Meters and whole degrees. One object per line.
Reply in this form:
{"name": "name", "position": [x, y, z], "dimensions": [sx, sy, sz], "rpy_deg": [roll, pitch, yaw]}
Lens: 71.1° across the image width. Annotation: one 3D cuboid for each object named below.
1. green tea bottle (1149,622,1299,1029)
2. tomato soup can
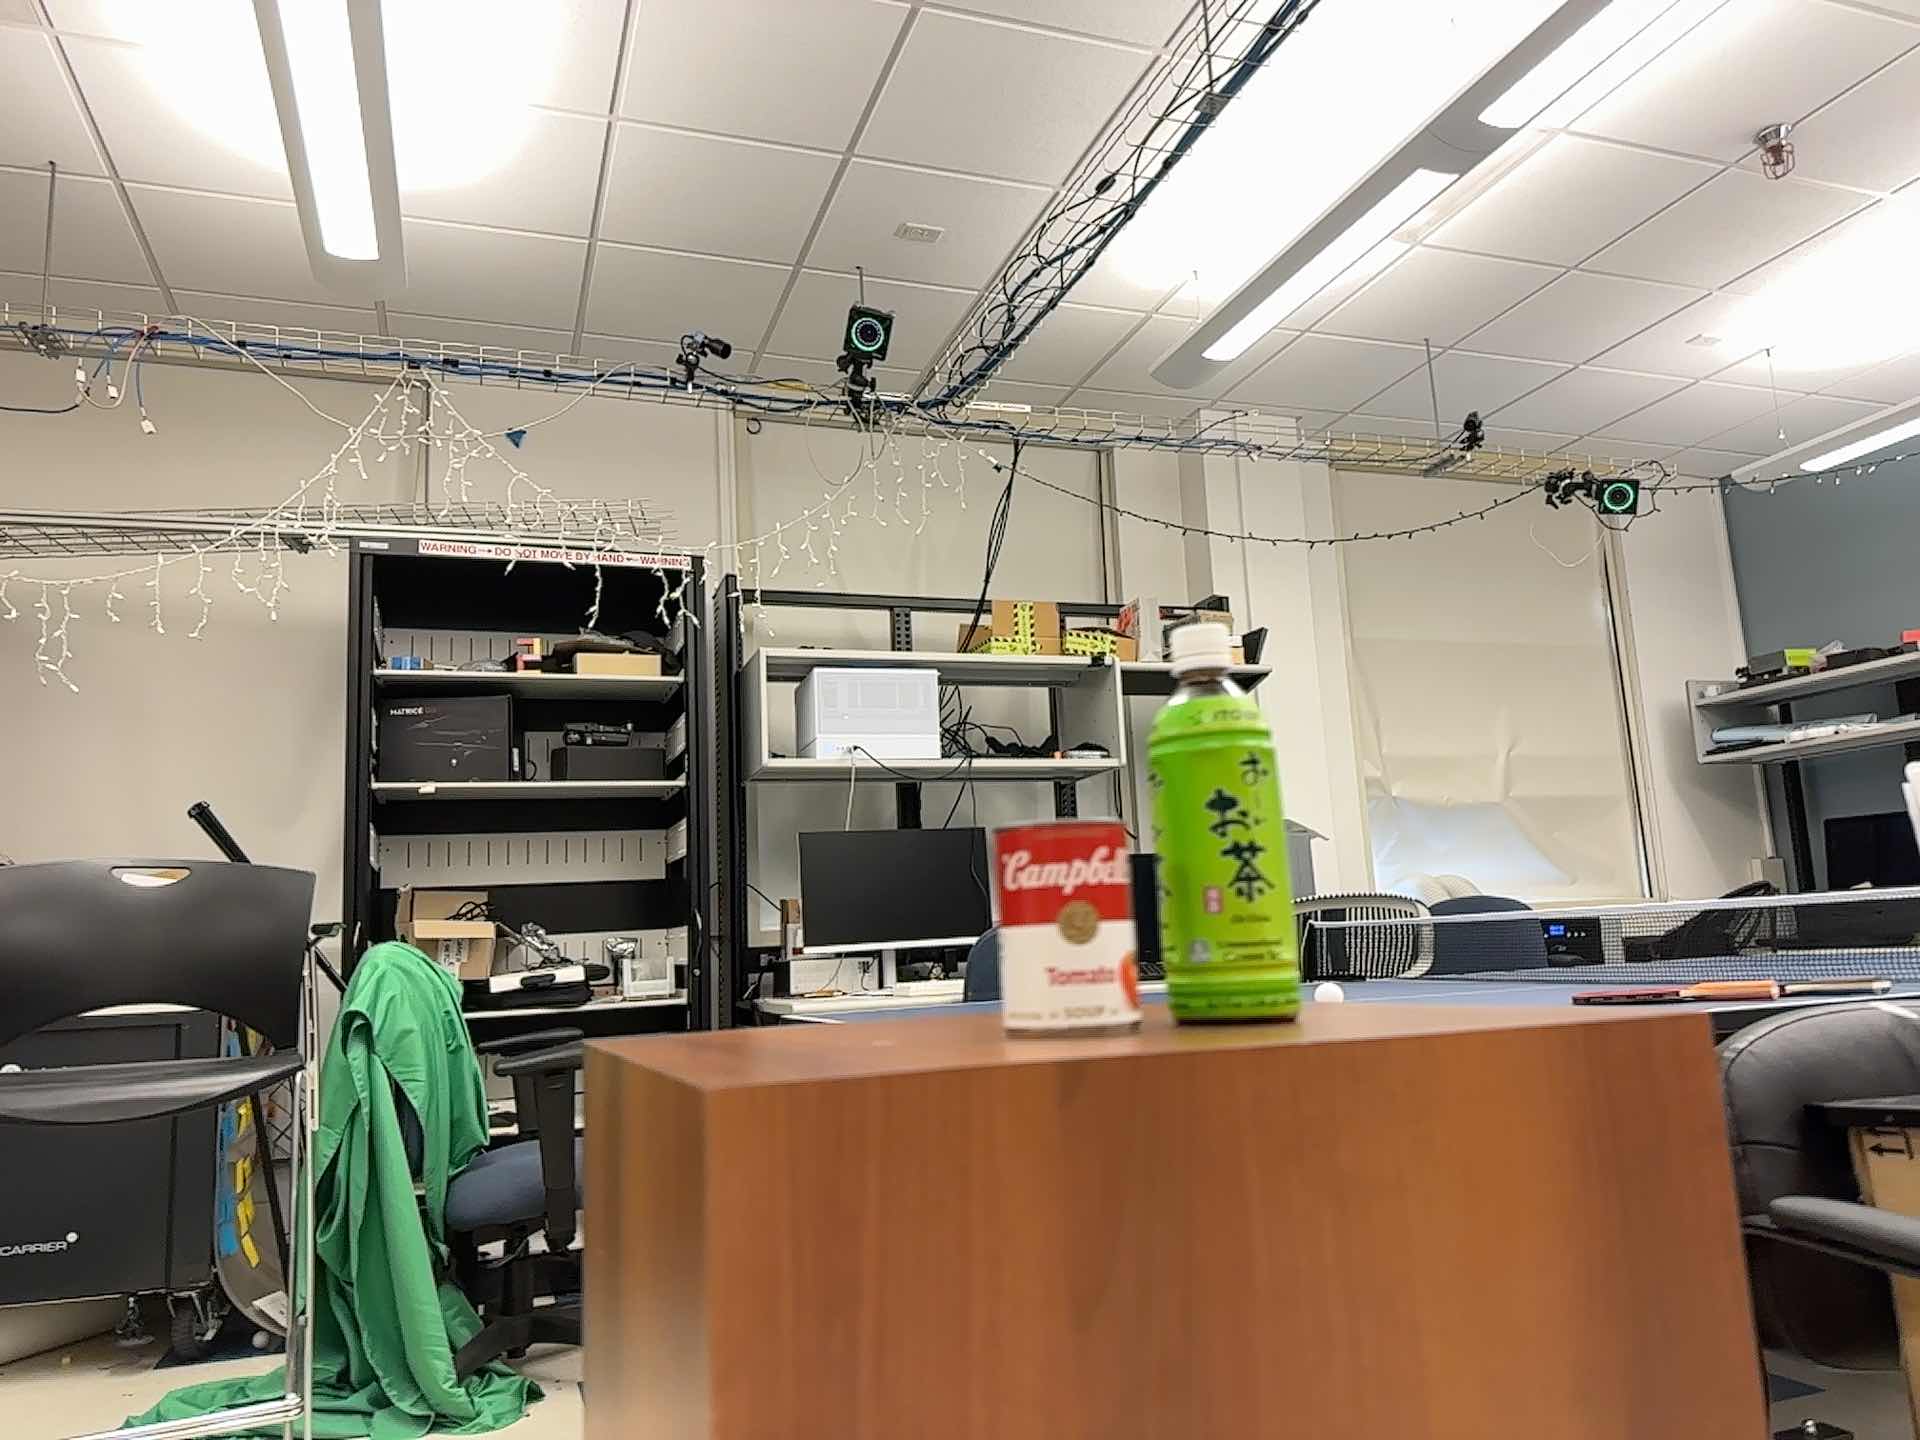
{"name": "green tea bottle", "position": [0.135, 0.054, 0.711], "dimensions": [0.073, 0.212, 0.073], "rpy_deg": [-4, -8, -1]}
{"name": "tomato soup can", "position": [0.051, 0.099, 0.658], "dimensions": [0.067, 0.102, 0.067], "rpy_deg": [-2, -9, 0]}
